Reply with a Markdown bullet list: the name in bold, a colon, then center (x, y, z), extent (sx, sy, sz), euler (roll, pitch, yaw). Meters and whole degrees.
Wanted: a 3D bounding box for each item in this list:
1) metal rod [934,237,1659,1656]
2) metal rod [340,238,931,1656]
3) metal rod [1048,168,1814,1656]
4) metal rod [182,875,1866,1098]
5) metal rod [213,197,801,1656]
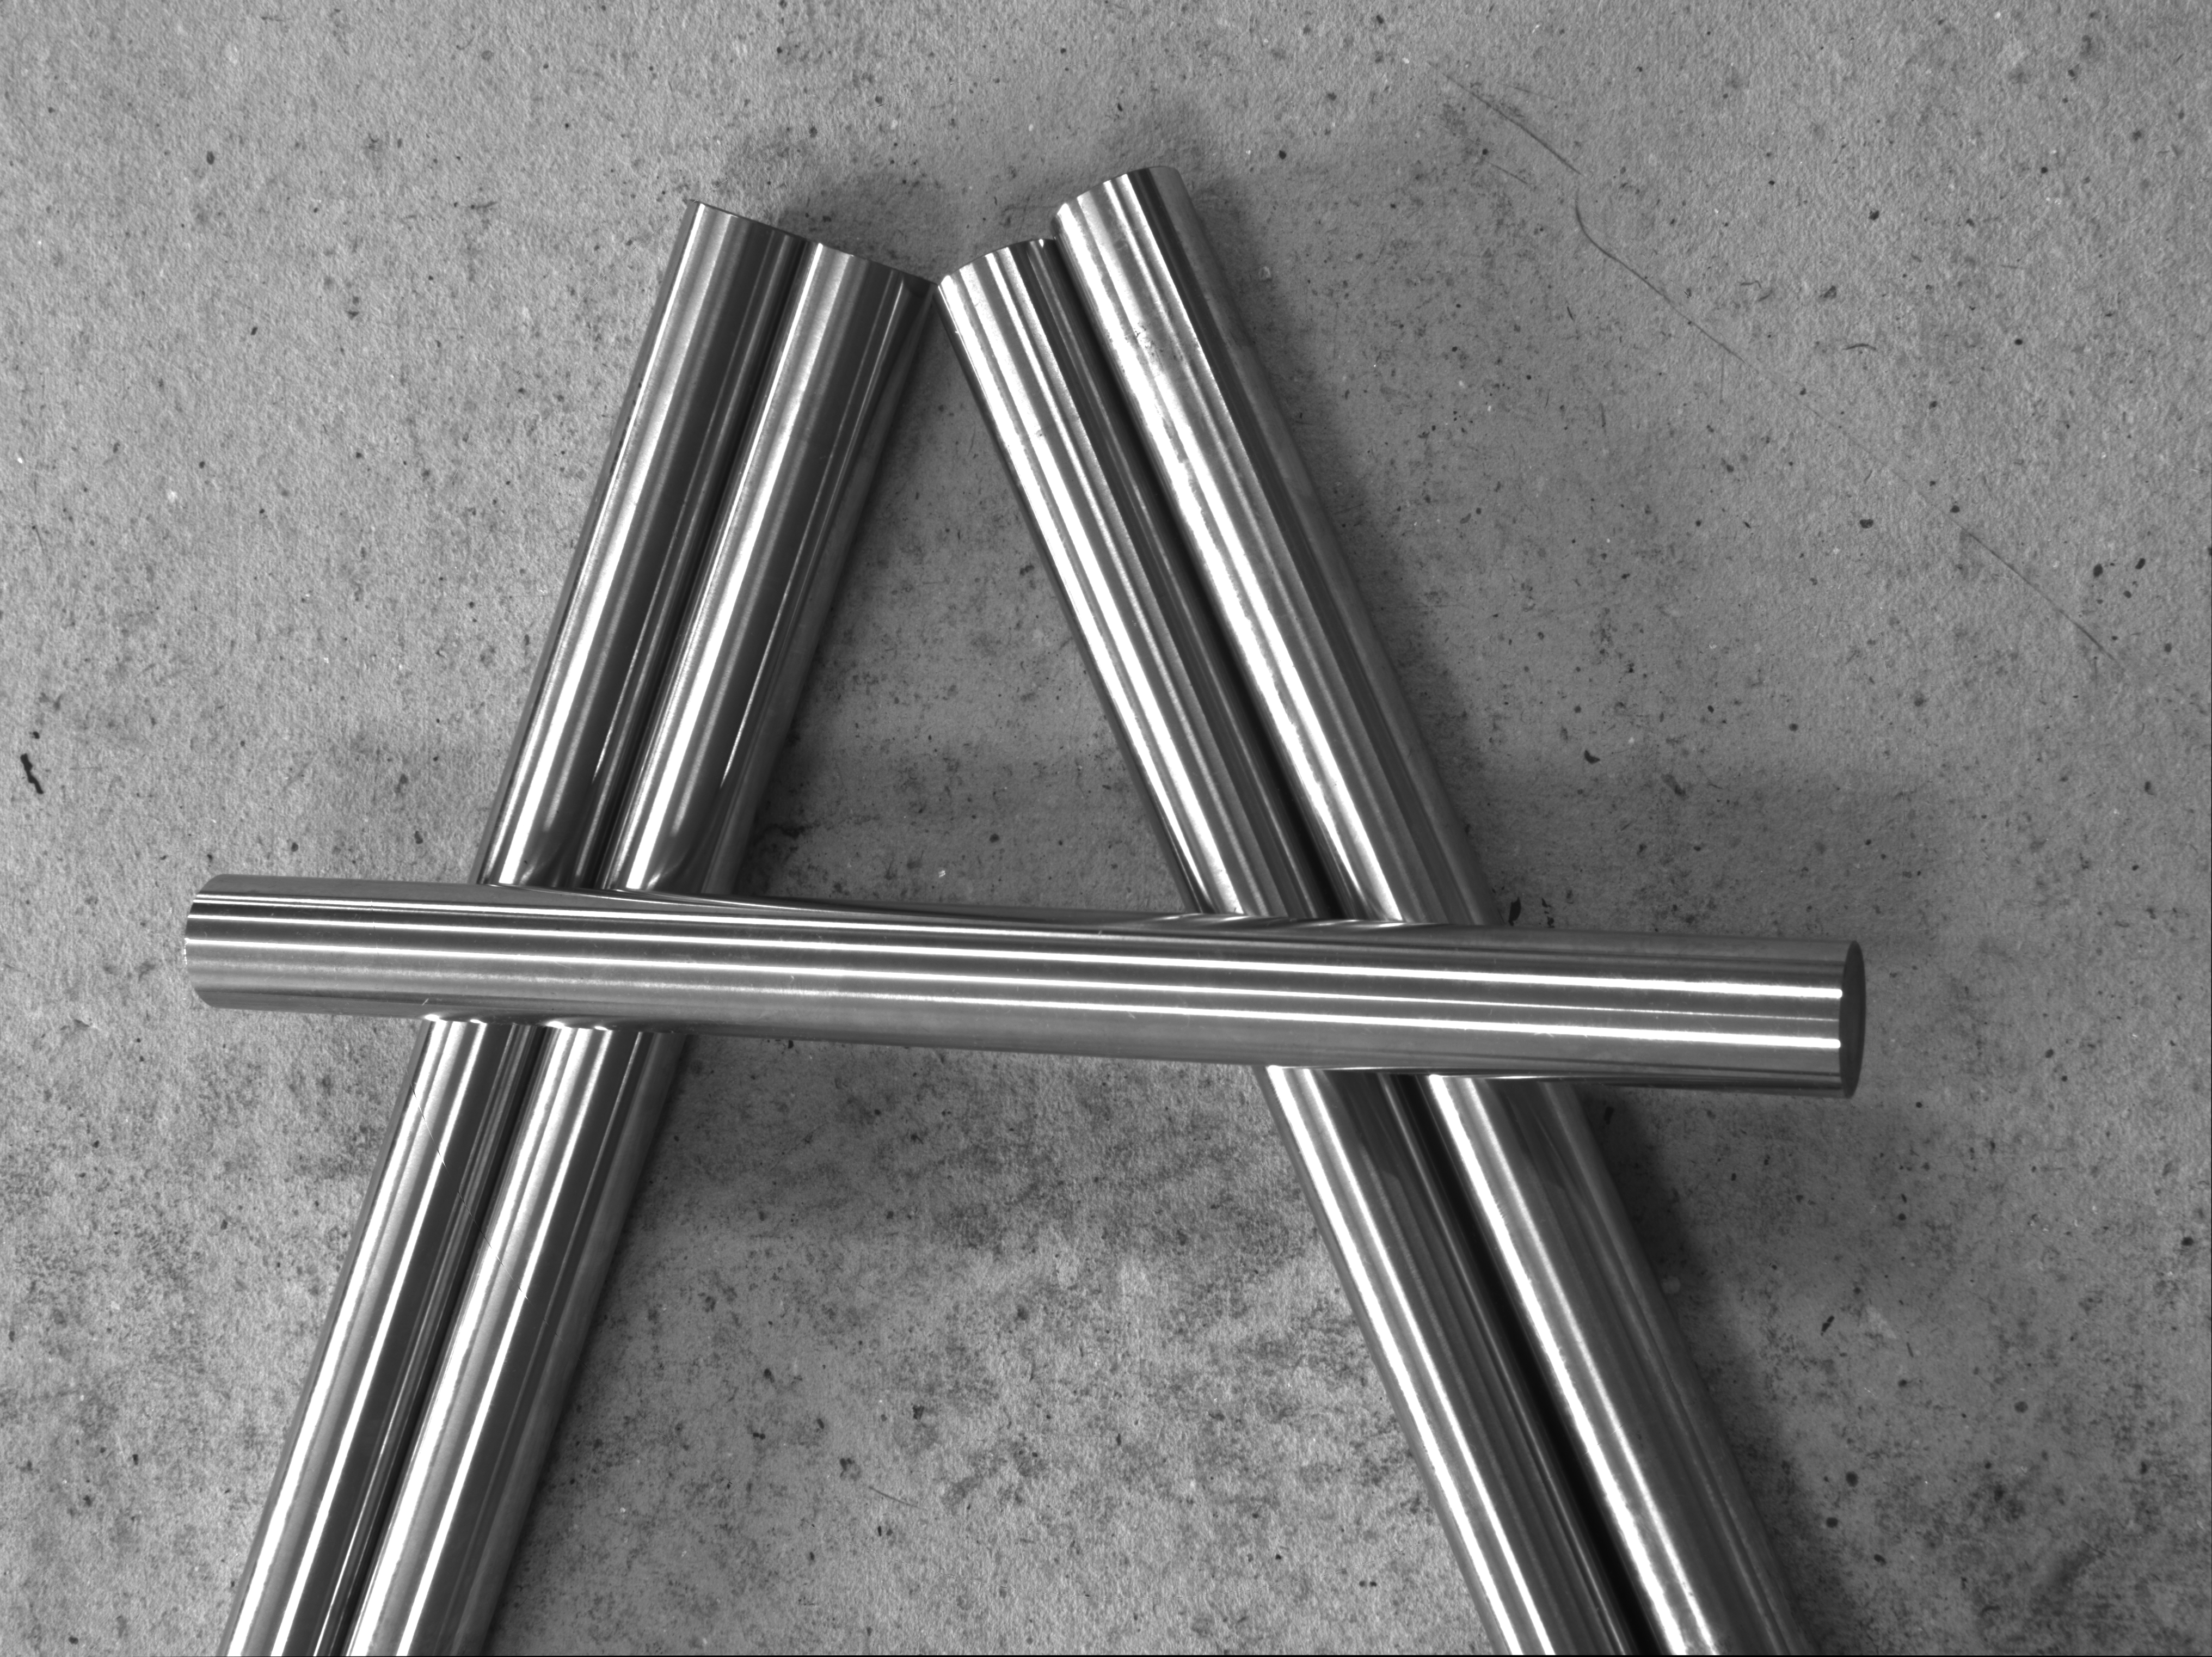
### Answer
- **metal rod**: center (0.038, 0.038, 0.633), extent (0.025, 0.025, 0.300), euler (-25, 82, 18)
- **metal rod**: center (-0.091, 0.038, 0.679), extent (0.025, 0.025, 0.300), euler (21, 97, 19)
- **metal rod**: center (0.058, 0.027, 0.626), extent (0.025, 0.025, 0.300), euler (-25, 82, 18)
- **metal rod**: center (-0.023, 0.025, 0.628), extent (0.299, 0.025, 0.025), euler (2, 91, 20)
- **metal rod**: center (-0.113, 0.030, 0.687), extent (0.025, 0.025, 0.300), euler (21, 97, 19)
